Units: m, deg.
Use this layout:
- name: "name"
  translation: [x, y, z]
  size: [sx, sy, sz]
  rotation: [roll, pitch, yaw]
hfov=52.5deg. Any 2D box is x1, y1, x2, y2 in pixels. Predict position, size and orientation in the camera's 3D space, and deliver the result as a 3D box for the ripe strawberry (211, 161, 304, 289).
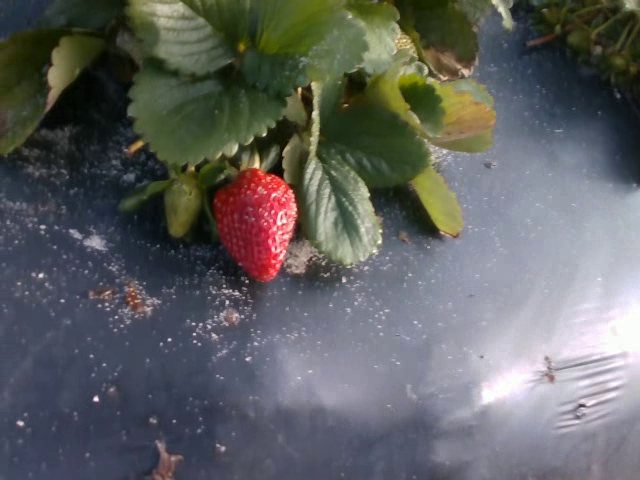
- name: "ripe strawberry"
  translation: [-0.016, -0.003, 0.174]
  size: [0.029, 0.036, 0.021]
  rotation: [-6, -23, -17]
